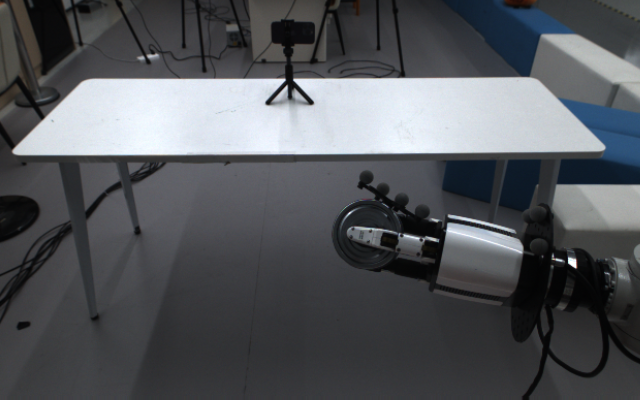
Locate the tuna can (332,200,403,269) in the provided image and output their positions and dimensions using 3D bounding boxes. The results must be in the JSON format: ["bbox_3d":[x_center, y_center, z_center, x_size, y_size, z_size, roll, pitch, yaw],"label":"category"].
[{"bbox_3d":[0.062,0.048,0.586,0.085,0.085,0.034,12,-4,14],"label":"tuna can"}]
